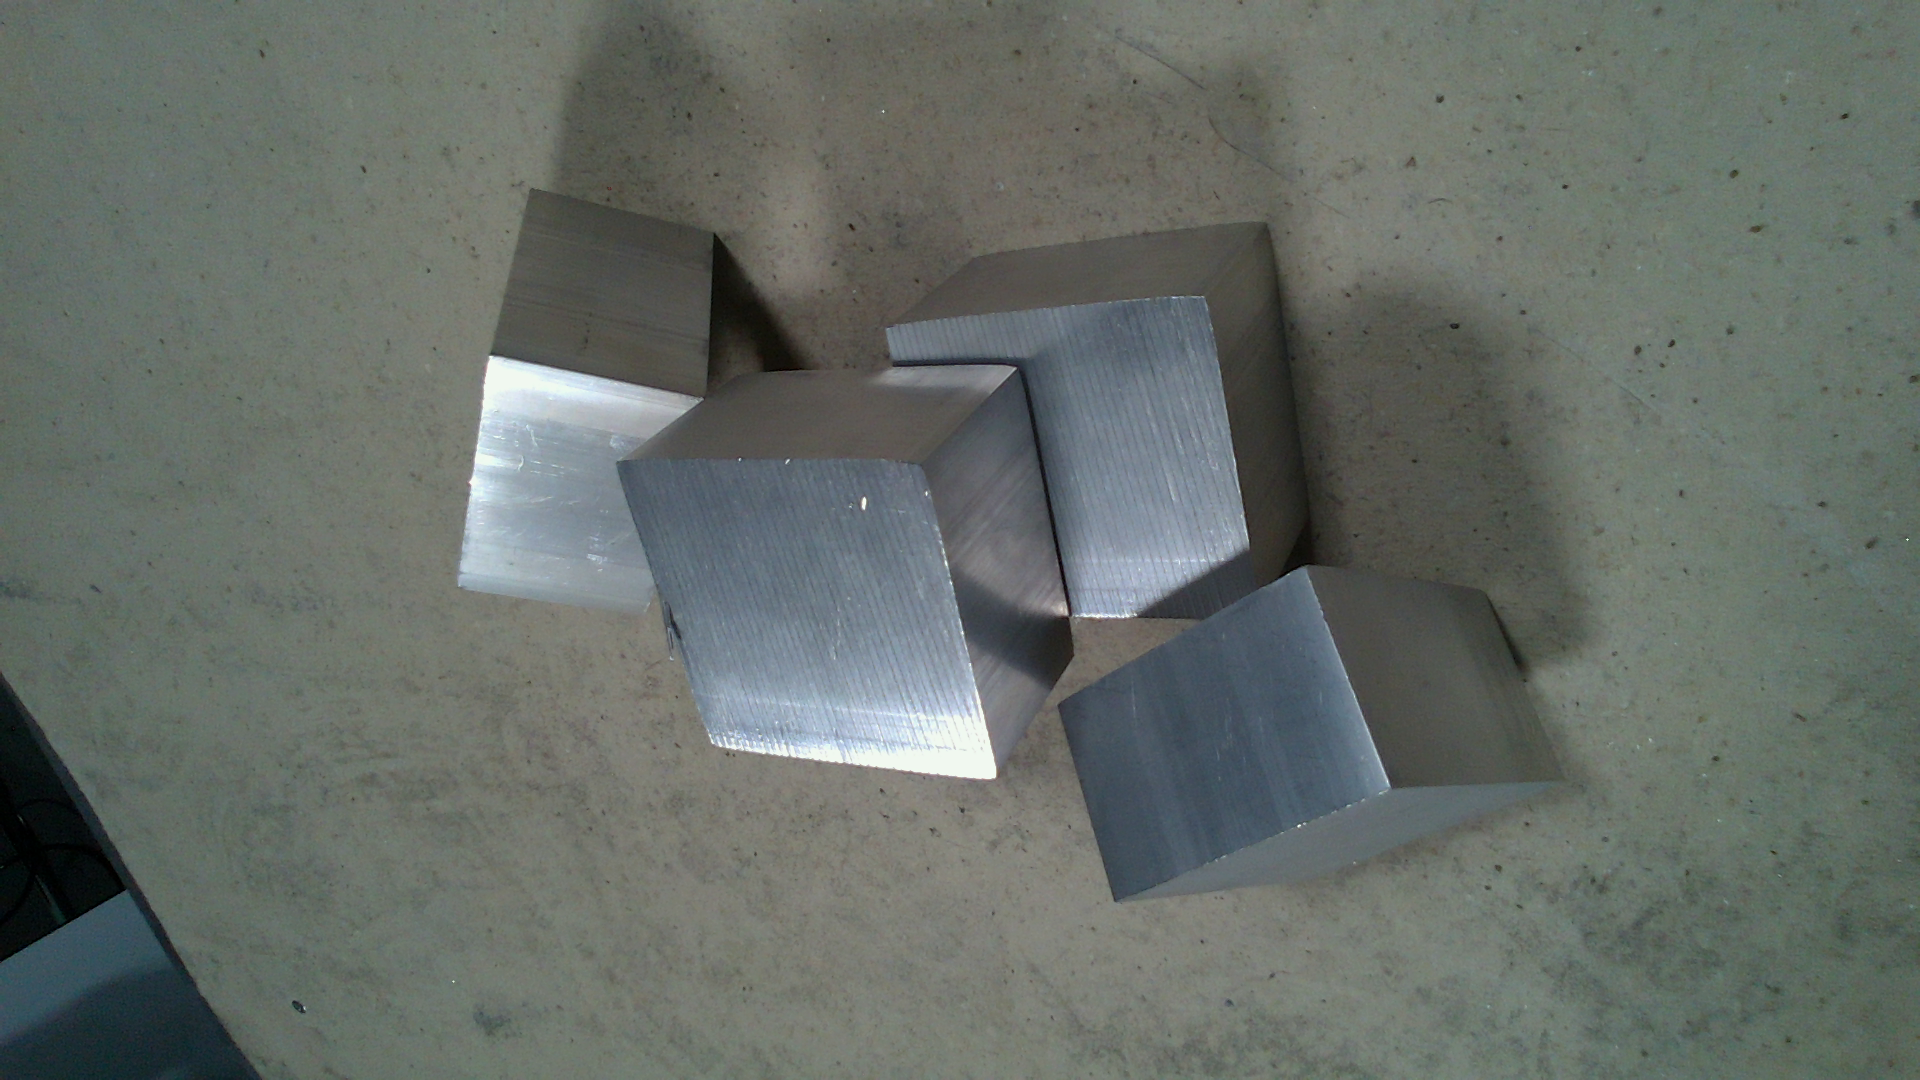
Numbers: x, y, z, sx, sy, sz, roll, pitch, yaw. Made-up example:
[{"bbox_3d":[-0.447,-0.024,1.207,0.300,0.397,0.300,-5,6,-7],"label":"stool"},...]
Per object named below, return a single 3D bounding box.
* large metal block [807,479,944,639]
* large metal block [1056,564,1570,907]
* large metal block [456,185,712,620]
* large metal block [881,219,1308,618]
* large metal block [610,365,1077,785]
[{"bbox_3d":[-0.026,0.008,0.393,0.080,0.050,0.080,0,119,28],"label":"large metal block"},{"bbox_3d":[0.084,0.049,0.334,0.080,0.080,0.050,-36,60,38],"label":"large metal block"},{"bbox_3d":[-0.103,-0.038,0.381,0.050,0.080,0.080,10,130,-17],"label":"large metal block"},{"bbox_3d":[0.036,-0.029,0.340,0.080,0.050,0.080,0,119,28],"label":"large metal block"},{"bbox_3d":[-0.024,0.006,0.326,0.080,0.050,0.080,2,119,27],"label":"large metal block"}]
